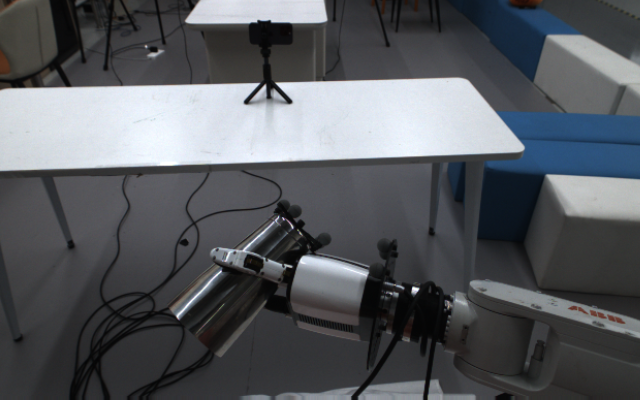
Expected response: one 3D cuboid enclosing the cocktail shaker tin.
[{"bbox_3d":[-0.093,0.095,0.604,0.170,0.093,0.093,-43,50,-14],"label":"cocktail shaker tin"}]
